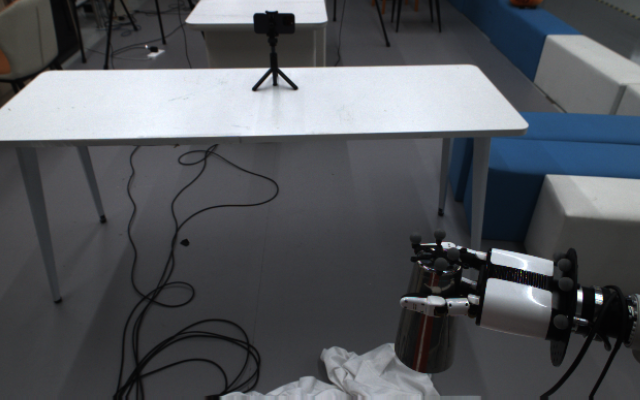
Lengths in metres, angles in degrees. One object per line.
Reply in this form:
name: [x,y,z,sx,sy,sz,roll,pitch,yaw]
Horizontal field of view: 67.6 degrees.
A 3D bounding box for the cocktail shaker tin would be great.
cocktail shaker tin: [0.166,0.156,0.719,0.093,0.170,0.093,1,26,-1]
